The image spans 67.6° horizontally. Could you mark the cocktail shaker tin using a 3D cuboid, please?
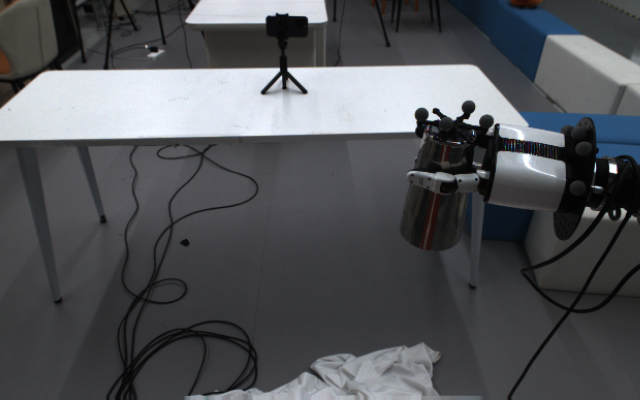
[{"bbox_3d":[0.171,-0.026,0.676,0.093,0.170,0.093,1,39,-1],"label":"cocktail shaker tin"}]
